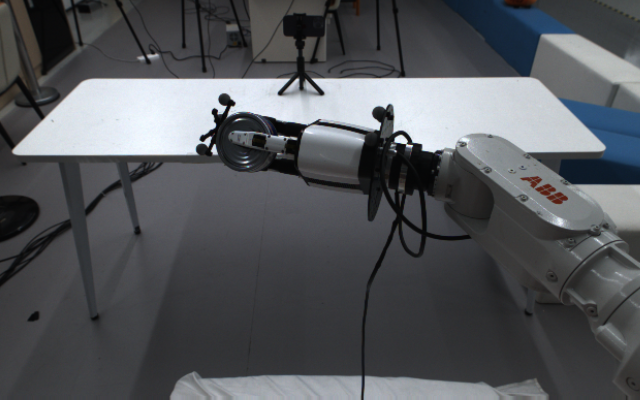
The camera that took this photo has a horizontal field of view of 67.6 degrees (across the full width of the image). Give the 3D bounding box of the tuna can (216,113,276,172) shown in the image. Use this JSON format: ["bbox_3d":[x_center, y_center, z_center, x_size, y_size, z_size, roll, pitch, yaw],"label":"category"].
[{"bbox_3d":[-0.102,-0.079,0.688,0.085,0.085,0.034,10,5,11],"label":"tuna can"}]
